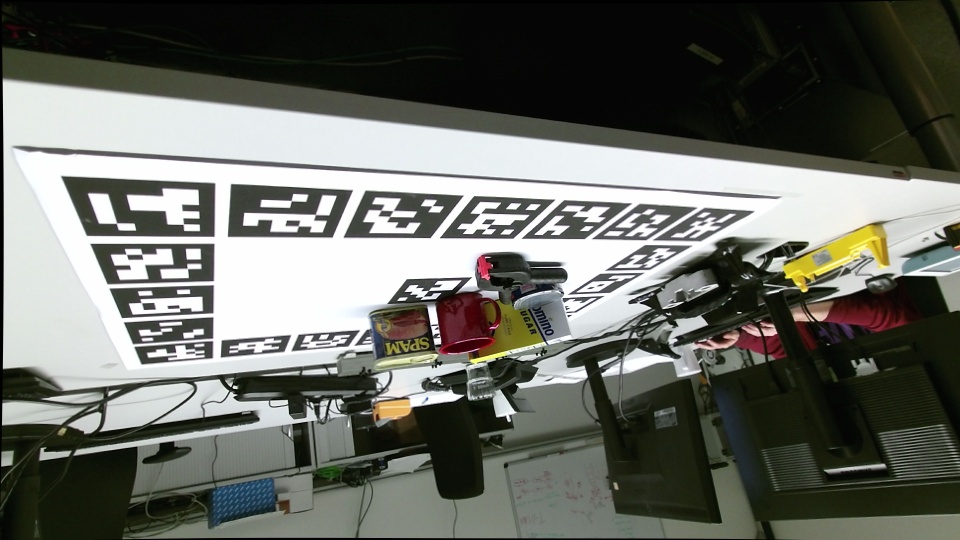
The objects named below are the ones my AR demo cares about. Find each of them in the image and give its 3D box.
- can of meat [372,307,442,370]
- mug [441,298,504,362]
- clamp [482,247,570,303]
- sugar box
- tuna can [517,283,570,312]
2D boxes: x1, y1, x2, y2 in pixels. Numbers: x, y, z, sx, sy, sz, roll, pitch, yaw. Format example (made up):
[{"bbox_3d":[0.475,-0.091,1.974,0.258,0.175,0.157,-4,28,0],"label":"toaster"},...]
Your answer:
[{"bbox_3d":[-0.119,0.108,0.852,0.102,0.083,0.058,-4,157,-19],"label":"can of meat"},{"bbox_3d":[-0.007,0.091,0.855,0.117,0.081,0.093,-30,152,31],"label":"mug"},{"bbox_3d":[0.055,0.007,0.773,0.122,0.036,0.166,-19,153,25],"label":"clamp"},{"bbox_3d":[0.069,0.094,0.911,0.177,0.092,0.045,-15,159,8],"label":"sugar box"},{"bbox_3d":[0.102,0.035,0.851,0.086,0.033,0.086,-12,156,-5],"label":"tuna can"}]
